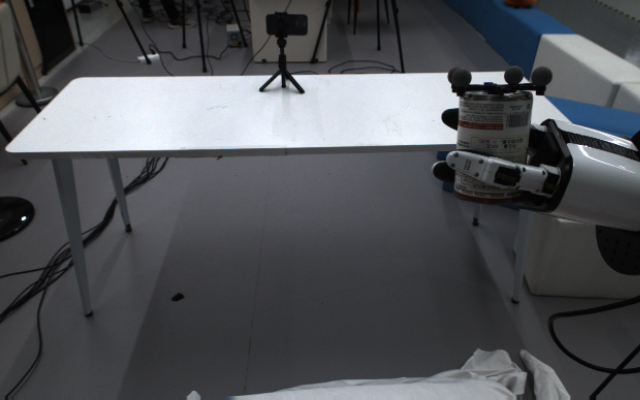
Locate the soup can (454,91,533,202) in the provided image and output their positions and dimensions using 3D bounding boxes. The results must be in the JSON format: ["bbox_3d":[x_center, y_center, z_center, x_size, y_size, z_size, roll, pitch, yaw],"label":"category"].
[{"bbox_3d":[0.171,-0.053,0.474,0.067,0.101,0.067,-1,17,0],"label":"soup can"}]
